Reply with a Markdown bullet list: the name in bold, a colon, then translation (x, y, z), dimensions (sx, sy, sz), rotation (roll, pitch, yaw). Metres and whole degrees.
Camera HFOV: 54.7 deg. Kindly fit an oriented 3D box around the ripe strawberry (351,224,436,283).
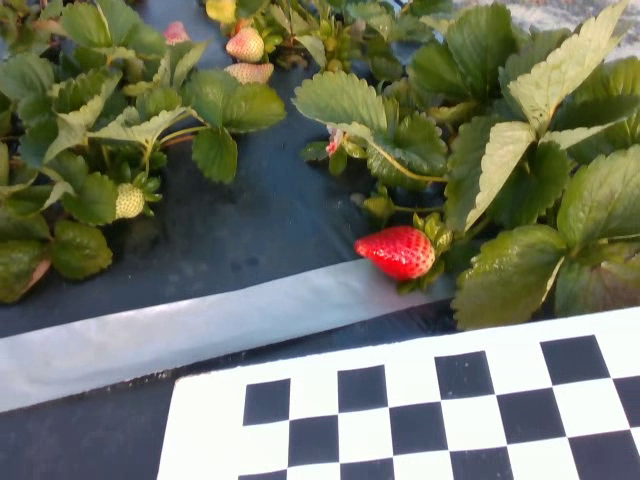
- **ripe strawberry**: translation (0.040, 0.006, 0.334), dimensions (0.055, 0.050, 0.036), rotation (-3, -40, -7)
